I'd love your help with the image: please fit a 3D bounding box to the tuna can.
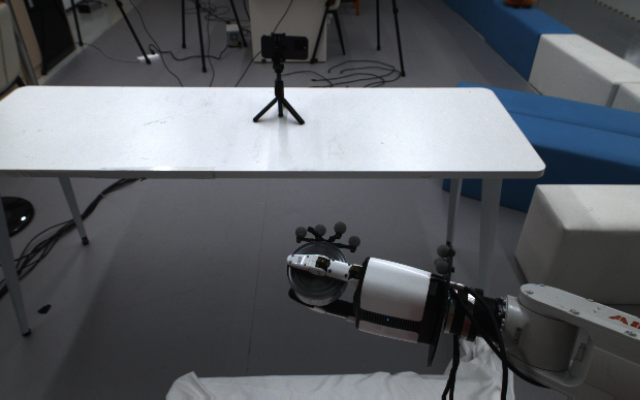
[{"bbox_3d":[-0.002,0.100,0.673,0.085,0.034,0.085,-2,56,4],"label":"tuna can"}]
